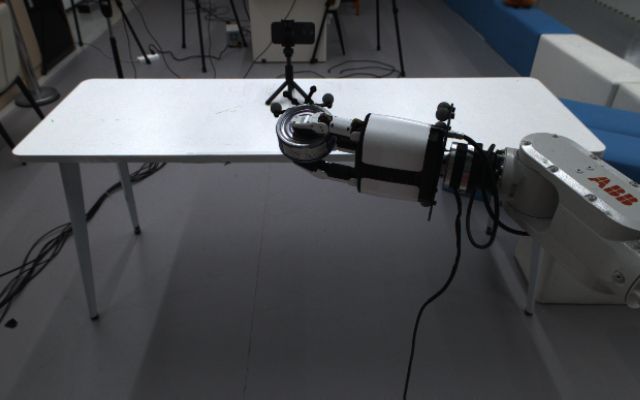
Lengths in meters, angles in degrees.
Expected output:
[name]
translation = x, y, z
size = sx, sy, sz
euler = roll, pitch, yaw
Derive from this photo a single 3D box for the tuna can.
[tuna can]
translation = -0.016, -0.091, 0.695
size = 0.085, 0.034, 0.085
euler = -3, 58, 5
